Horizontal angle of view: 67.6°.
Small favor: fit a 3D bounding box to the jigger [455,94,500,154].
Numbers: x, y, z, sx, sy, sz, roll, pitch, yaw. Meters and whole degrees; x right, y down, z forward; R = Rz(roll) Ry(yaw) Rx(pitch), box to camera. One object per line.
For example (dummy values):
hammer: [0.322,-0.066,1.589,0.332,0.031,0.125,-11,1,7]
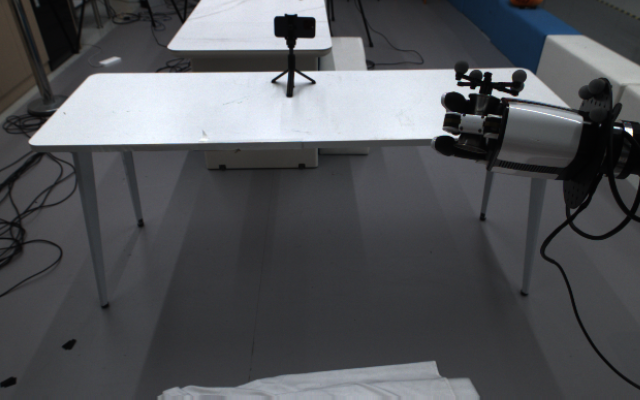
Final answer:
jigger: [0.204,-0.098,0.622,0.043,0.071,0.043,14,1,0]
